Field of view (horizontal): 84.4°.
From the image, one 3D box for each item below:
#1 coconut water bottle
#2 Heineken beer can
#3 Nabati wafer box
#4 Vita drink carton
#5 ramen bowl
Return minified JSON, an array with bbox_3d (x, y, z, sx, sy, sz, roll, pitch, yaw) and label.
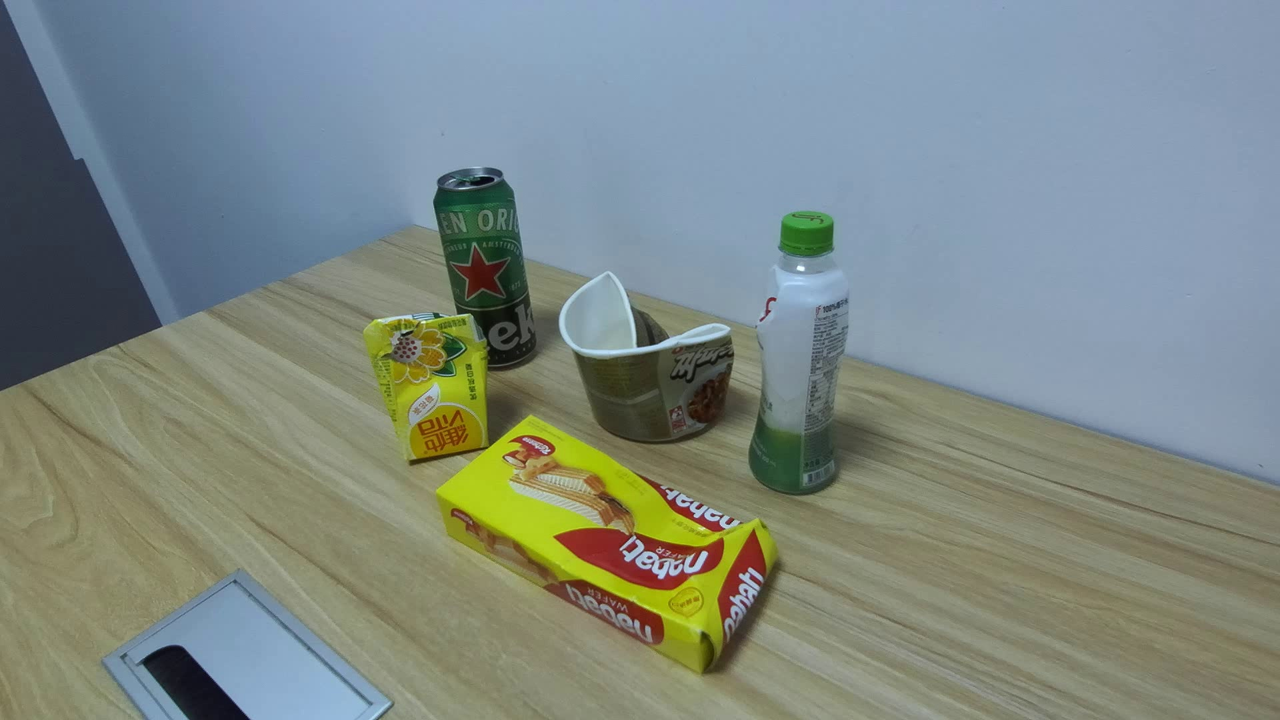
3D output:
[{"bbox_3d":[0.105,-0.003,0.459,0.069,0.186,0.069,-3,30,2],"label":"coconut water bottle"},{"bbox_3d":[-0.133,-0.077,0.622,0.067,0.169,0.067,-3,32,2],"label":"Heineken beer can"},{"bbox_3d":[-0.019,0.104,0.445,0.203,0.042,0.107,20,41,29],"label":"Nabati wafer box"},{"bbox_3d":[-0.158,0.015,0.539,0.087,0.108,0.042,-8,19,-14],"label":"Vita drink carton"},{"bbox_3d":[0.004,-0.002,0.556,0.137,0.098,0.137,-3,31,2],"label":"ramen bowl"}]
